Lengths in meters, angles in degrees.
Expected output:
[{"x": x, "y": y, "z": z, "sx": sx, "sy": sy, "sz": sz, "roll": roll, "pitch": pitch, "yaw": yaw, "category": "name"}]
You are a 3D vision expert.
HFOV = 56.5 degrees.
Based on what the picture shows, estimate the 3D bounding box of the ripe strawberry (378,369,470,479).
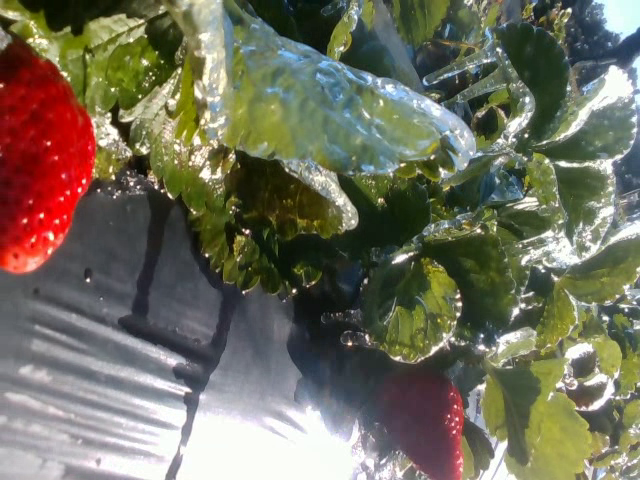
[{"x": 0.046, "y": 0.081, "z": 0.245, "sx": 0.047, "sy": 0.053, "sz": 0.041, "roll": -33, "pitch": -43, "yaw": 16, "category": "ripe strawberry"}]
